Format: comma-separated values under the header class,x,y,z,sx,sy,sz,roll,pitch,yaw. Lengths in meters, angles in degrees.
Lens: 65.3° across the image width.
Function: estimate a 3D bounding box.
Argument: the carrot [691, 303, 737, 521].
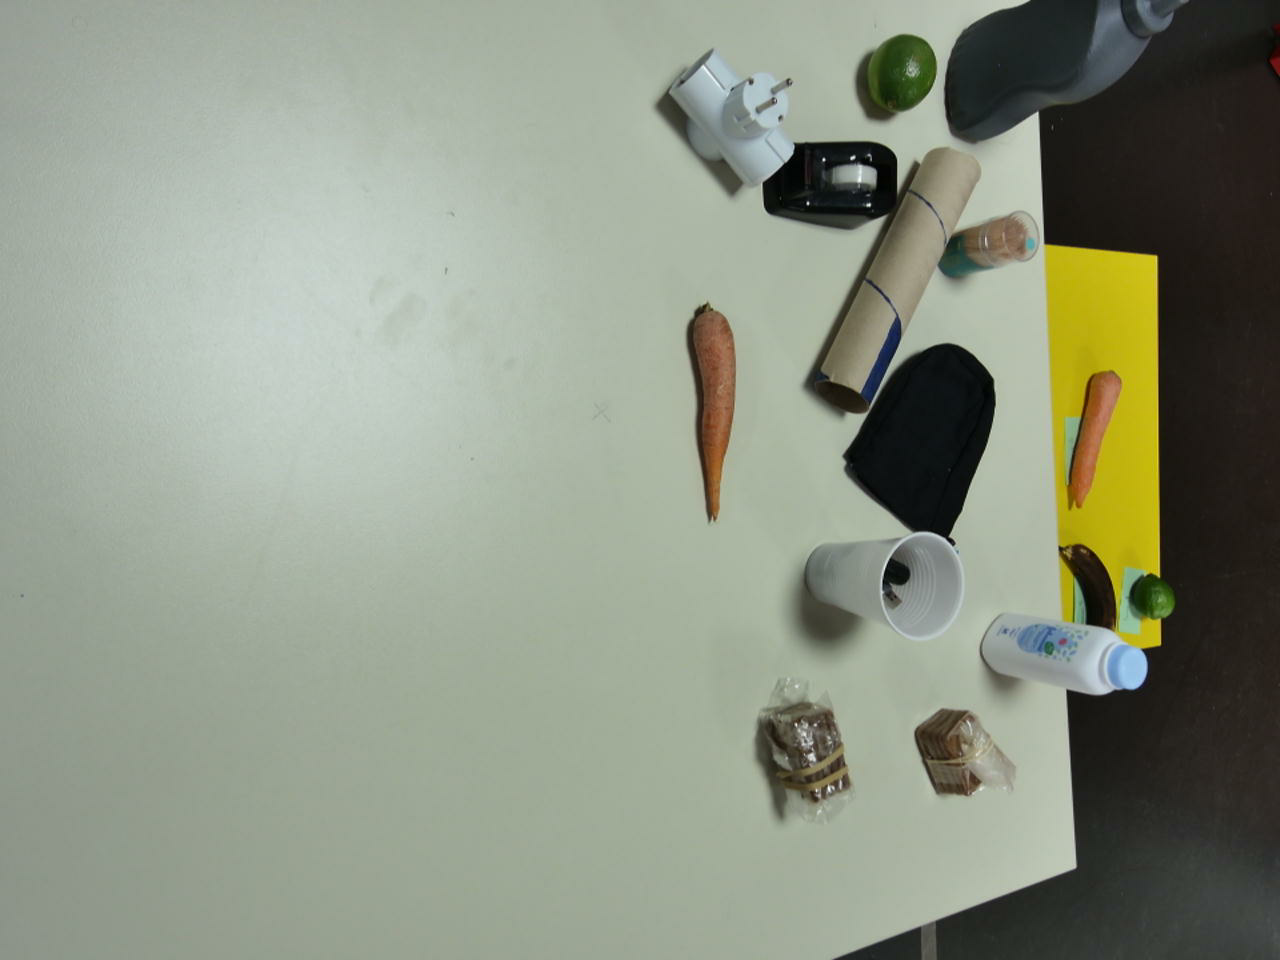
class,x,y,z,sx,sy,sz,roll,pitch,yaw
carrot,0.058,-0.050,0.743,0.031,0.029,0.163,-5,93,-28
